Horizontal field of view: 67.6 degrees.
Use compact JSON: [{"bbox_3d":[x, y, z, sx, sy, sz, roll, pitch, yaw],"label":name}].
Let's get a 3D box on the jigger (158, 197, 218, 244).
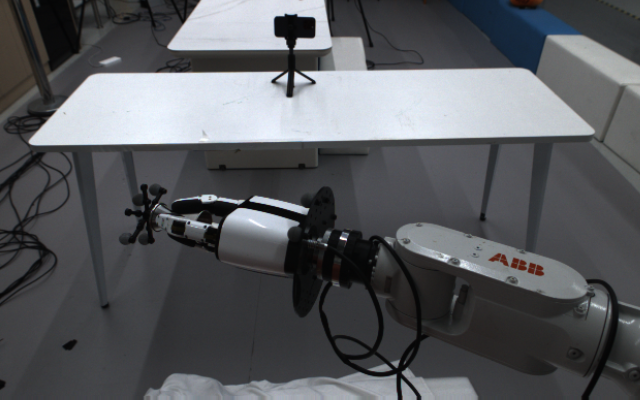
[{"bbox_3d":[-0.176,0.026,0.630,0.071,0.043,0.043,10,35,16],"label":"jigger"}]
